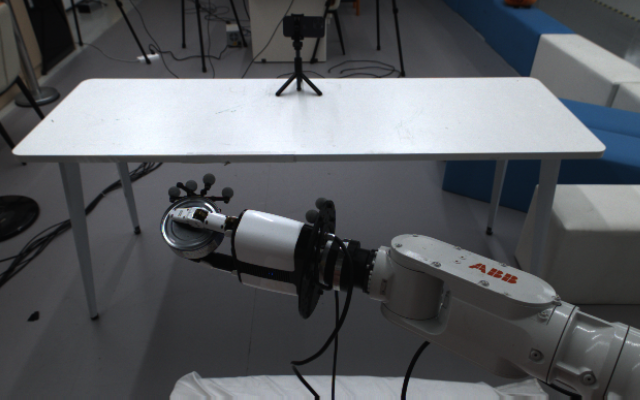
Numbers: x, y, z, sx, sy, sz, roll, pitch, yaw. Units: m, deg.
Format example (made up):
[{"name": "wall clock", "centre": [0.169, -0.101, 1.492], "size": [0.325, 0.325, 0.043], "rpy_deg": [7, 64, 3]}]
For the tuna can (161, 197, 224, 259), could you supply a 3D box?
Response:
[{"name": "tuna can", "centre": [-0.173, 0.040, 0.682], "size": [0.085, 0.034, 0.085], "rpy_deg": [-1, 57, 2]}]
